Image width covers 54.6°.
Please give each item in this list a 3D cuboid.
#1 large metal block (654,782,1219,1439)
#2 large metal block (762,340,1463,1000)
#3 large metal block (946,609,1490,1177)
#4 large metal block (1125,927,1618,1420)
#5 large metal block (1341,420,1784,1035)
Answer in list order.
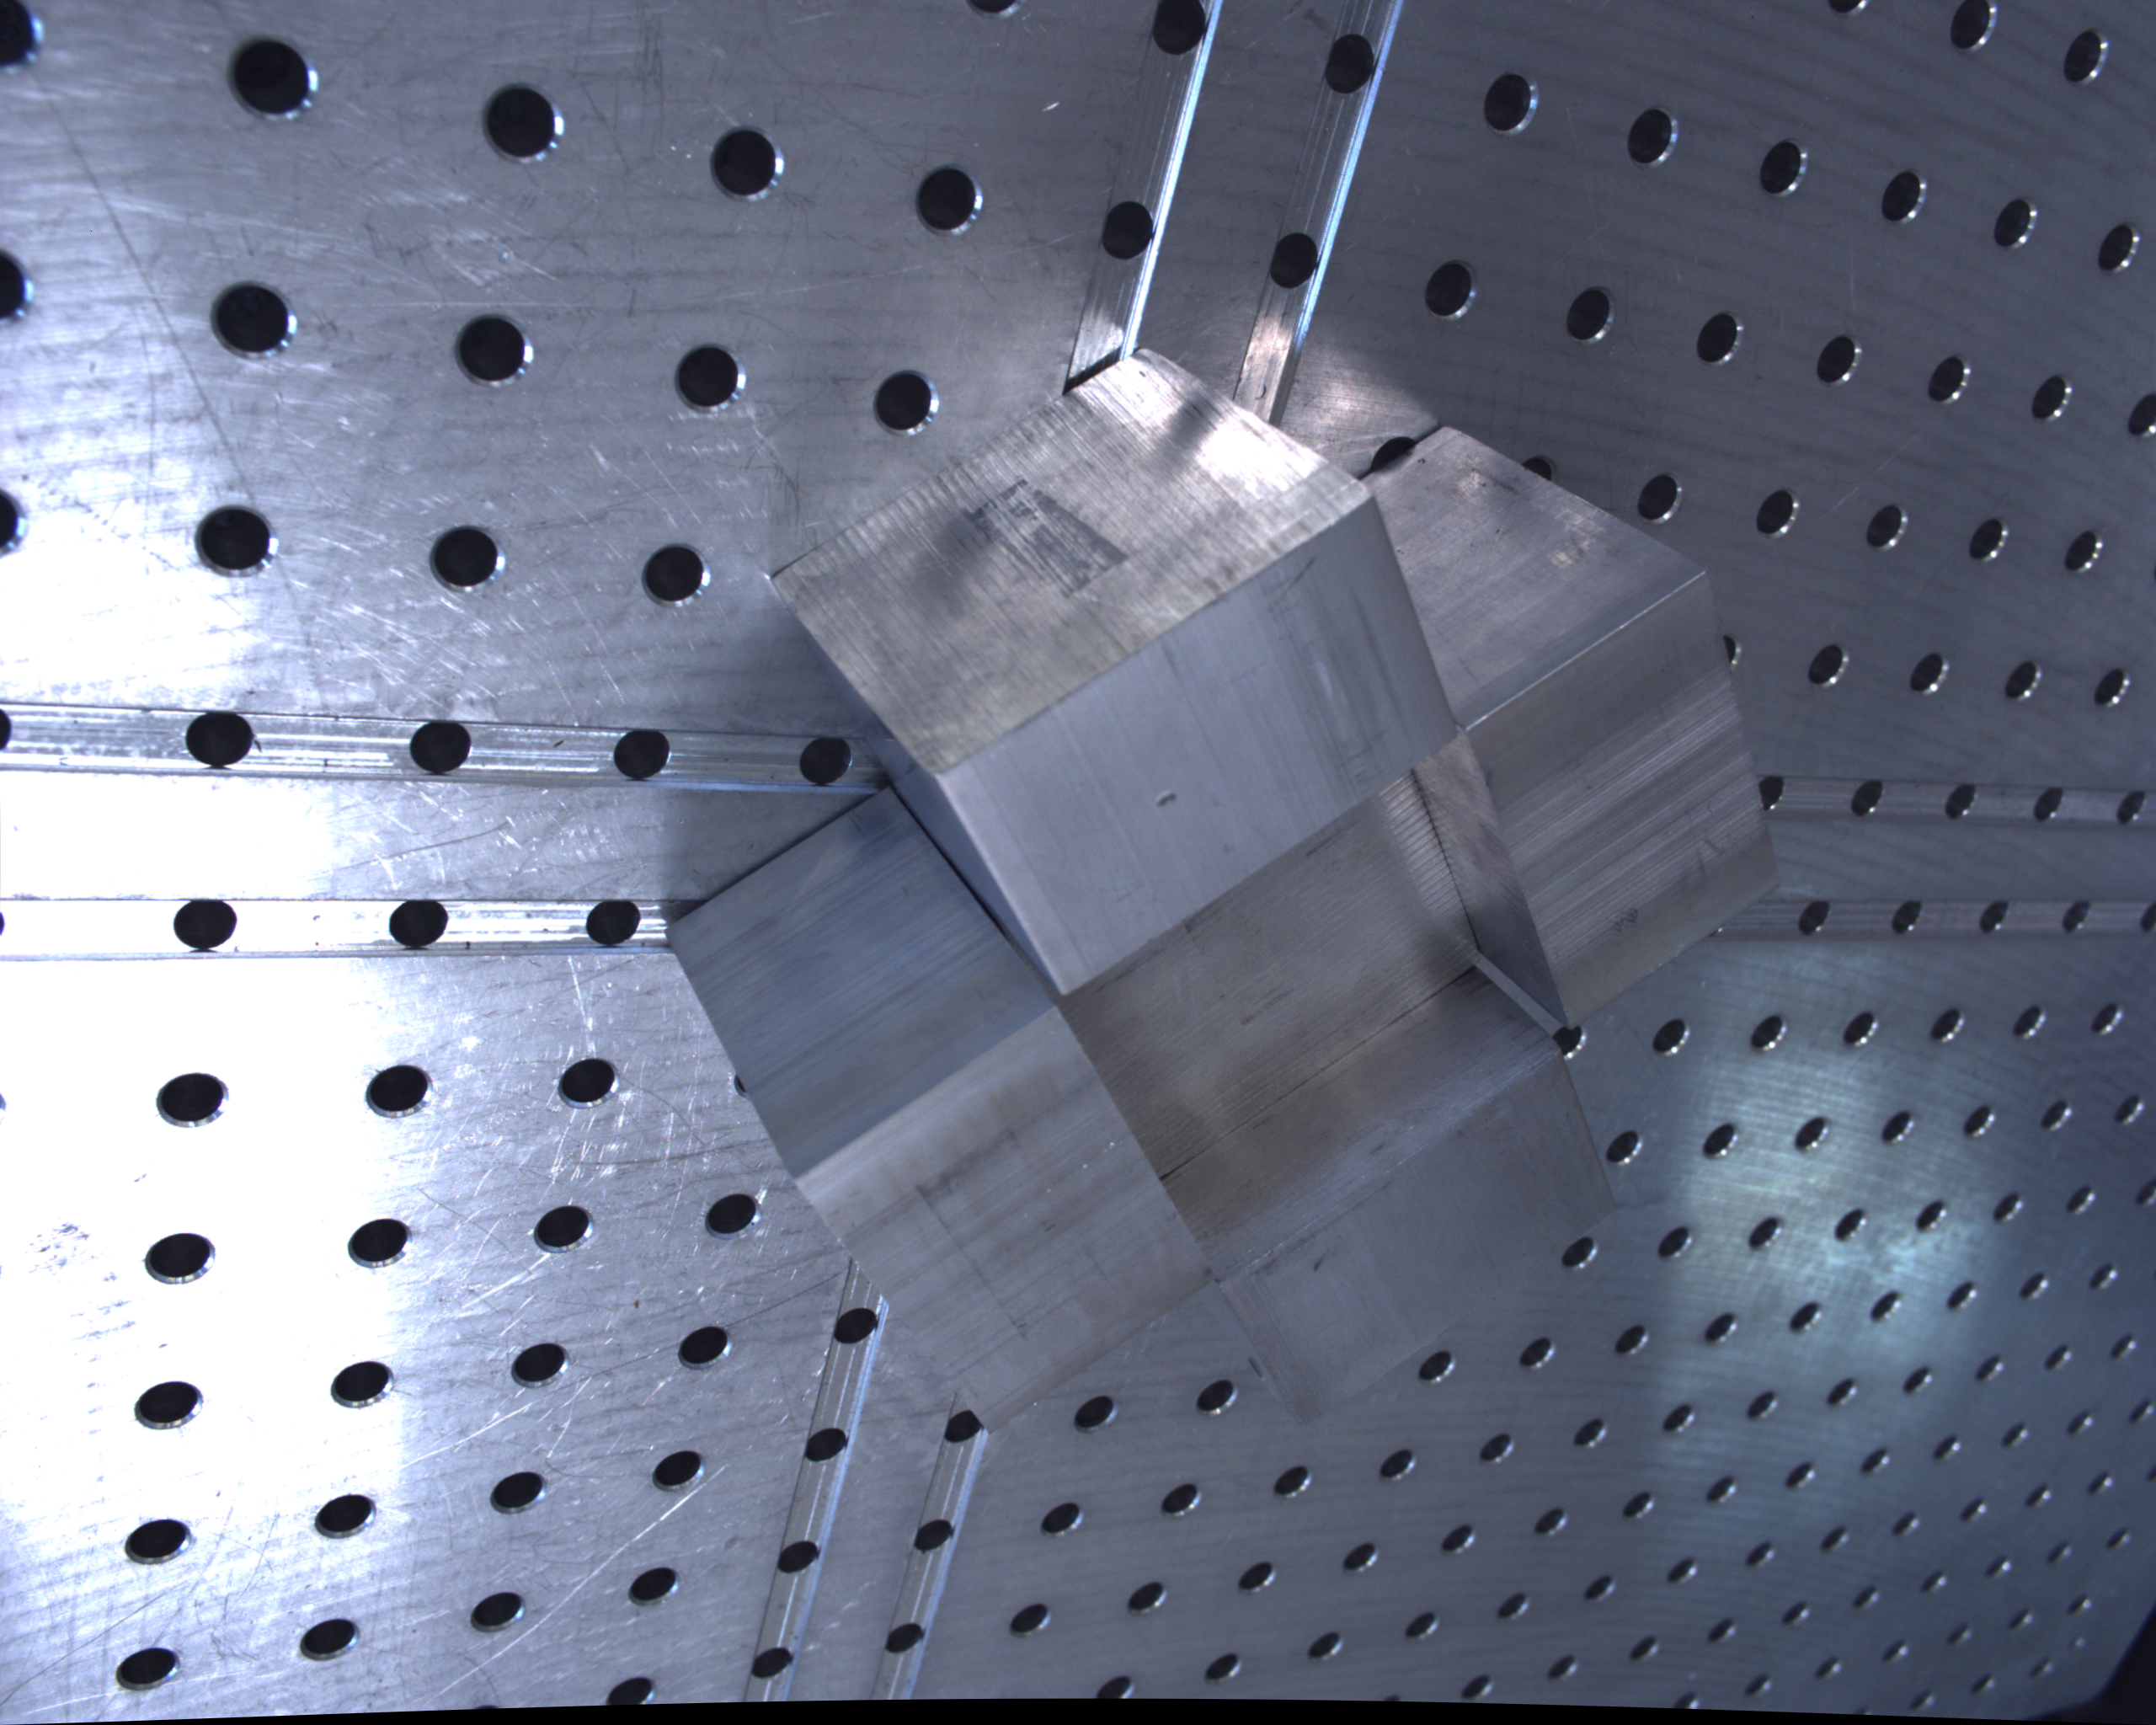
[{"bbox_3d":[-0.027,0.045,0.388,0.050,0.080,0.080,-34,129,-6],"label":"large metal block"},{"bbox_3d":[0.004,-0.036,0.355,0.080,0.080,0.050,-33,129,-6],"label":"large metal block"},{"bbox_3d":[0.023,0.002,0.407,0.080,0.050,0.080,-32,127,-5],"label":"large metal block"},{"bbox_3d":[0.051,0.054,0.437,0.080,0.080,0.050,-32,129,-7],"label":"large metal block"},{"bbox_3d":[0.083,-0.027,0.403,0.050,0.080,0.080,-34,129,-6],"label":"large metal block"}]
